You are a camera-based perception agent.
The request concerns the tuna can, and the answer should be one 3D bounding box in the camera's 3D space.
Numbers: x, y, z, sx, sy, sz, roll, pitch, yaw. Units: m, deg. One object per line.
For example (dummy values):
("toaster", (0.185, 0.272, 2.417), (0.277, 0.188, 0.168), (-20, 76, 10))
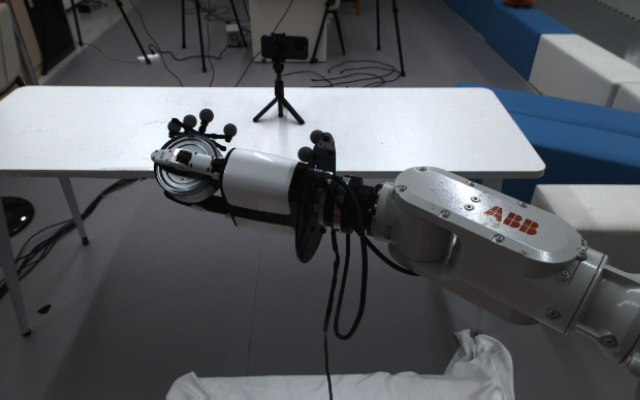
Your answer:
("tuna can", (-0.166, -0.041, 0.621), (0.085, 0.034, 0.085), (-3, 68, 8))
